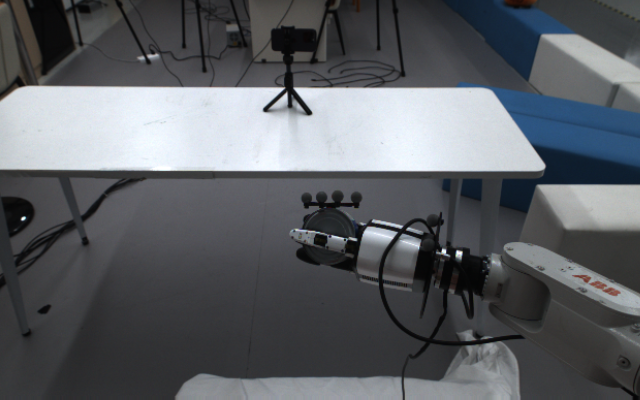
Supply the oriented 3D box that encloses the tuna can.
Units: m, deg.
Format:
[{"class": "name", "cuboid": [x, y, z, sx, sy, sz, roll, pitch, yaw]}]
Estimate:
[{"class": "tuna can", "cuboid": [0.017, 0.055, 0.738, 0.085, 0.085, 0.034, 15, 1, 18]}]
